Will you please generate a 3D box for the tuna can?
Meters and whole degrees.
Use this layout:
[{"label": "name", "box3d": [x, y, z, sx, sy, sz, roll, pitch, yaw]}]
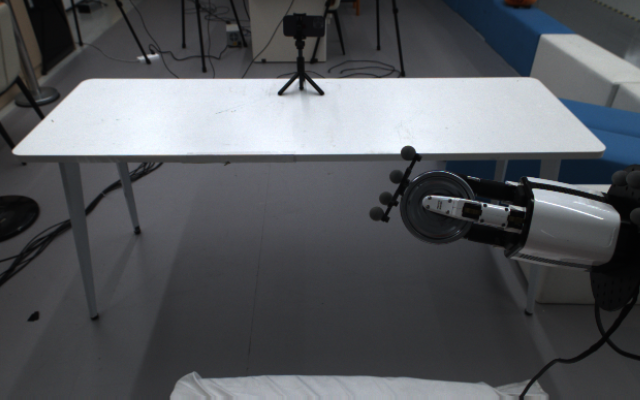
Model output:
[{"label": "tuna can", "box3d": [0.139, 0.004, 0.562, 0.085, 0.085, 0.034, 8, 4, 8]}]
